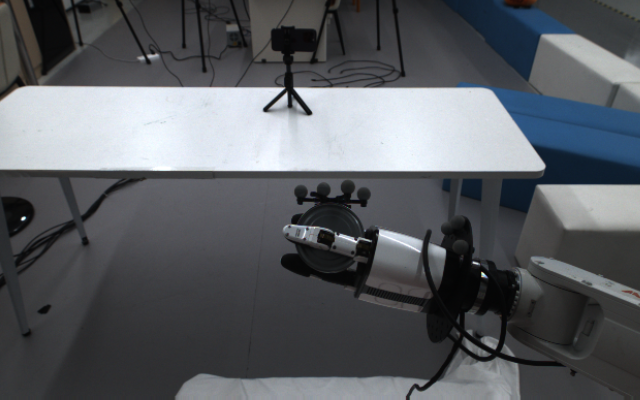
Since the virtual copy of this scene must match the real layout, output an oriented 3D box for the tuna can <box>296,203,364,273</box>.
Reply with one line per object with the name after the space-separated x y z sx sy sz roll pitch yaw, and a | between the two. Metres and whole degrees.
0.013 0.047 0.601 0.085 0.034 0.085 -1 76 4 | tuna can
